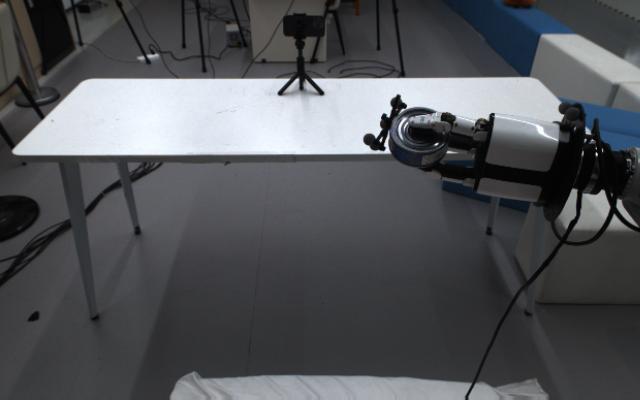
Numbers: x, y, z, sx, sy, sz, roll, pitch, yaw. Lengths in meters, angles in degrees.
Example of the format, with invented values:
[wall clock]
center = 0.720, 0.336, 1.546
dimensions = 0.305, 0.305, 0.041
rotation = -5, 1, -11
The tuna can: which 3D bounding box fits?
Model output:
[tuna can]
center = 0.144, -0.091, 0.693
dimensions = 0.085, 0.034, 0.085
rotation = -1, 61, 1
